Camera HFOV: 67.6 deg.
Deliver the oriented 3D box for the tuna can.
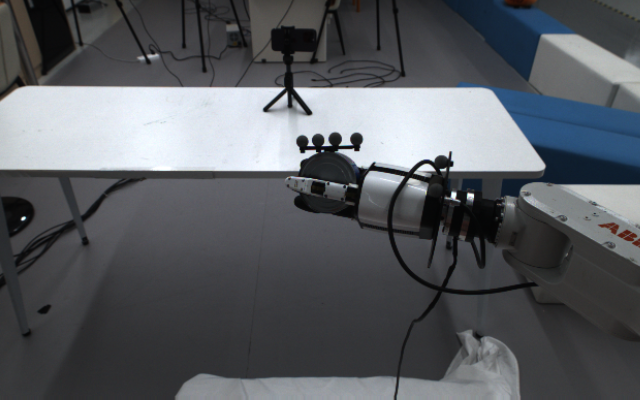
[{"bbox_3d":[0.015,-0.025,0.680,0.085,0.085,0.034,15,10,18],"label":"tuna can"}]
